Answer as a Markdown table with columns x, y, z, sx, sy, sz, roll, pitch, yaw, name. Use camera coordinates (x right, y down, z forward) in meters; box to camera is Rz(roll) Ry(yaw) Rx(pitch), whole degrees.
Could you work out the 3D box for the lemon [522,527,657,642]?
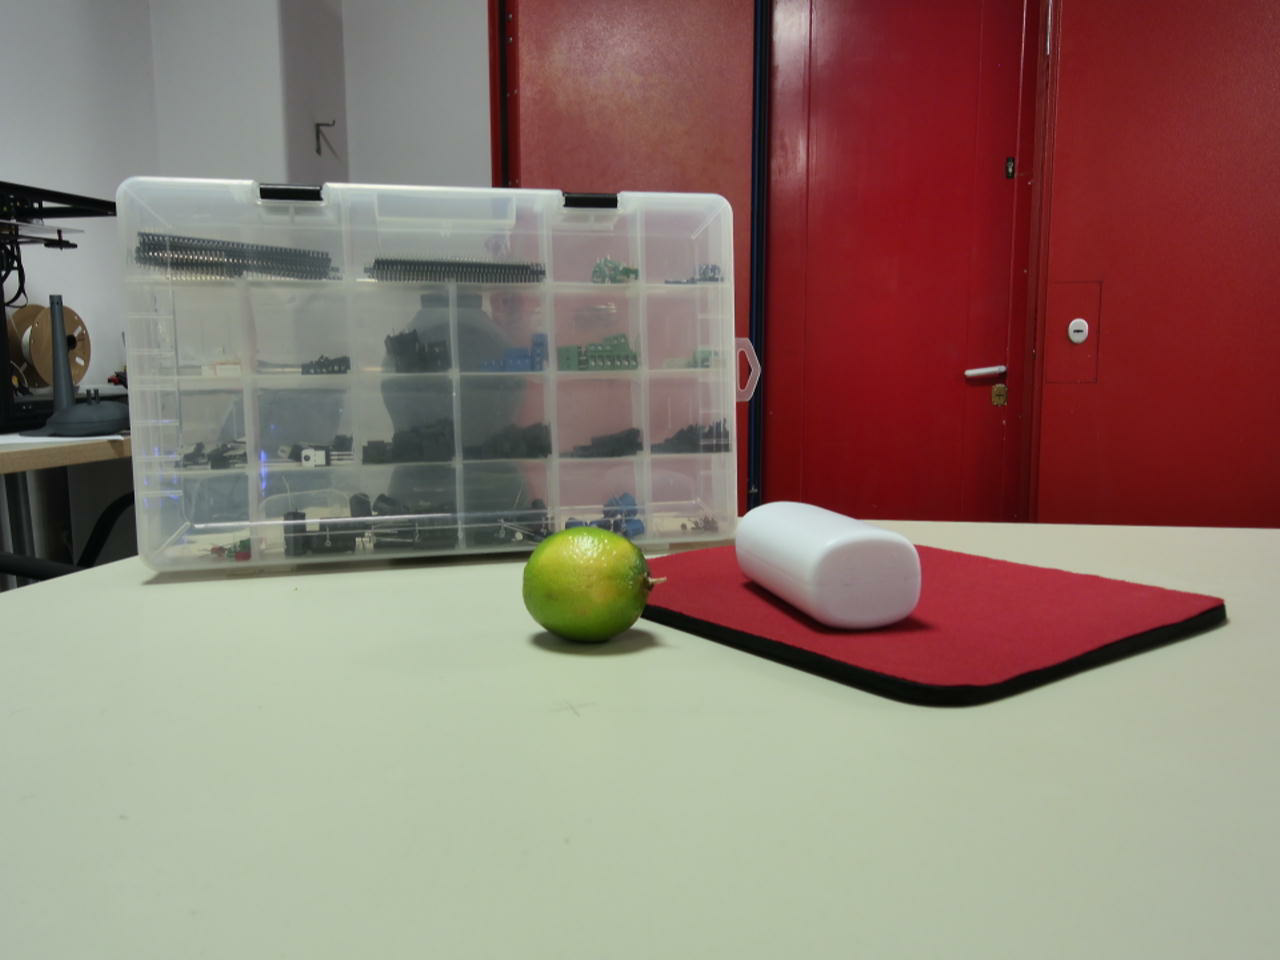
| x | y | z | sx | sy | sz | roll | pitch | yaw | name |
| --- | --- | --- | --- | --- | --- | --- | --- | --- | --- |
| -0.024 | 0.046 | 0.447 | 0.054 | 0.050 | 0.055 | -4 | 5 | -28 | lemon |
